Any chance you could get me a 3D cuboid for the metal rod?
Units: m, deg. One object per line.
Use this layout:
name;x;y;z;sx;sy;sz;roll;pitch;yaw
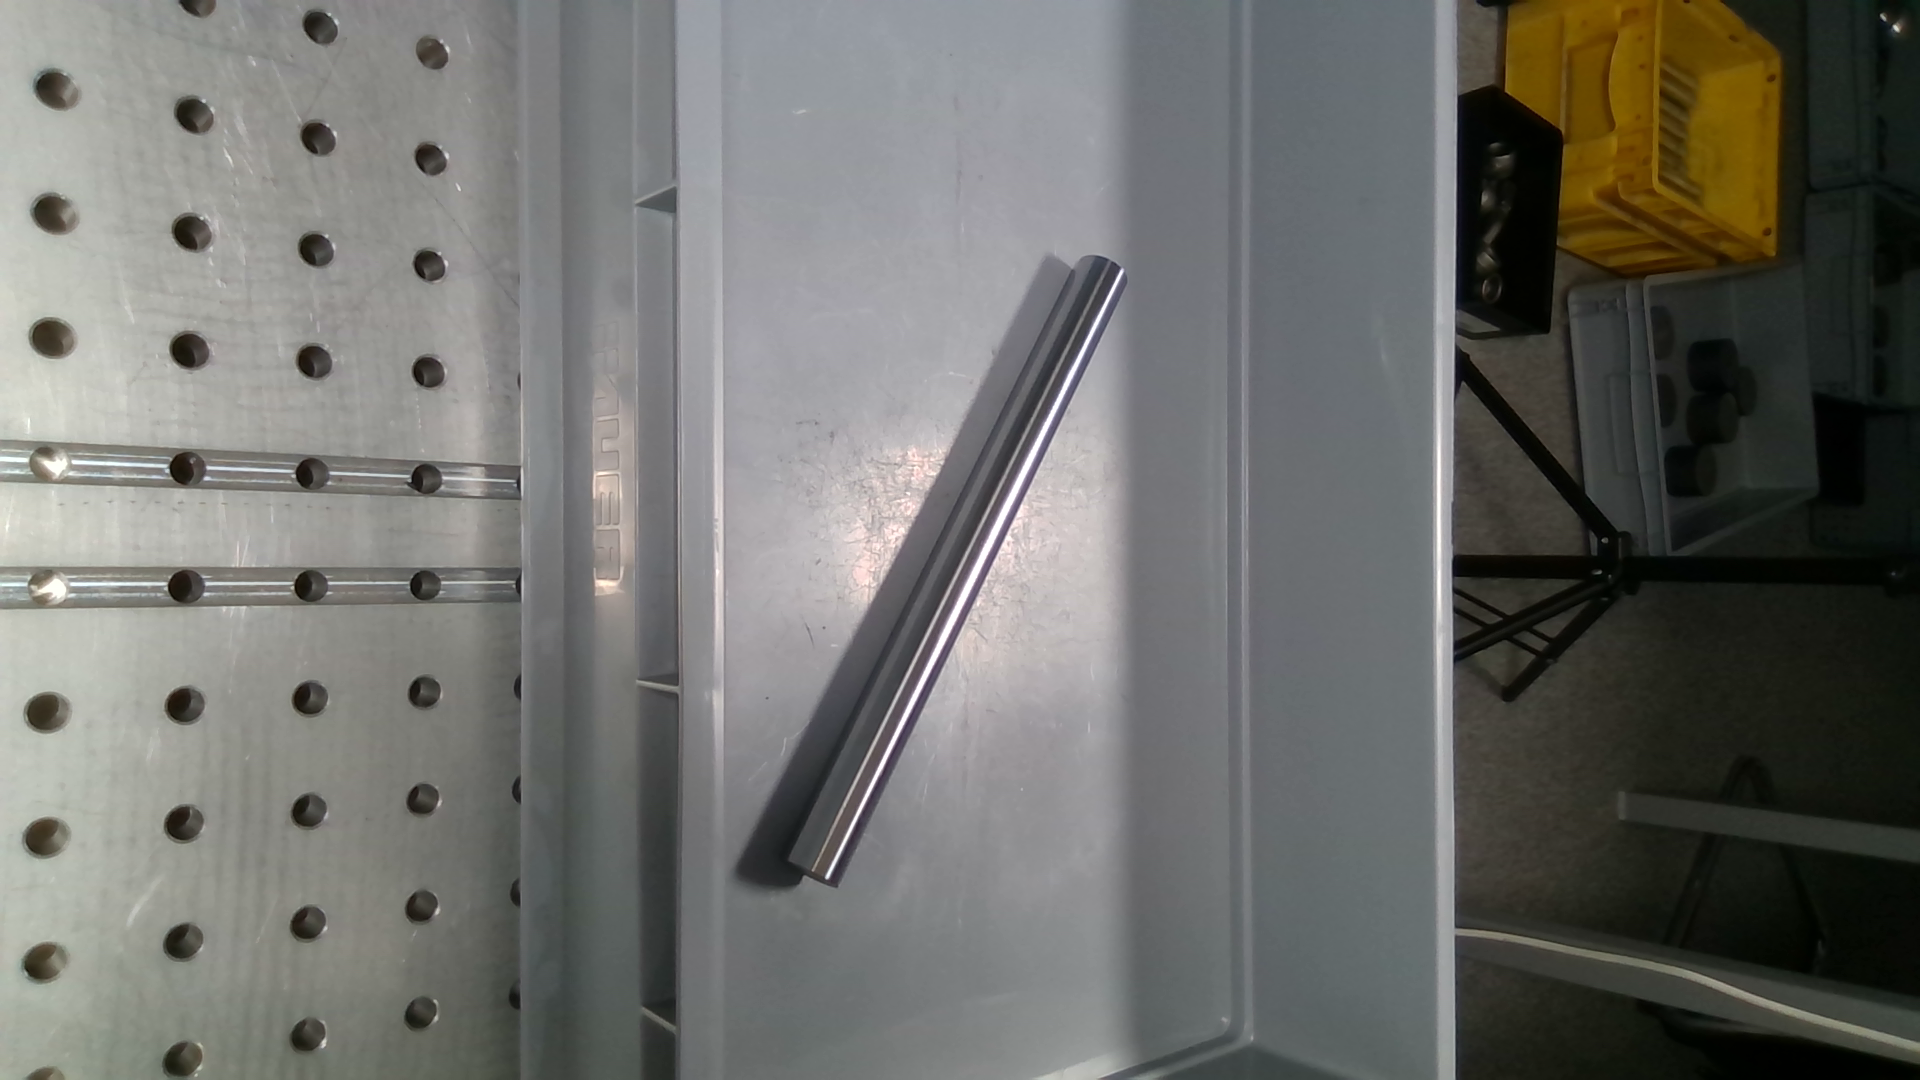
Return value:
metal rod;0.004;0.002;0.584;0.025;0.025;0.299;40;66;-33
